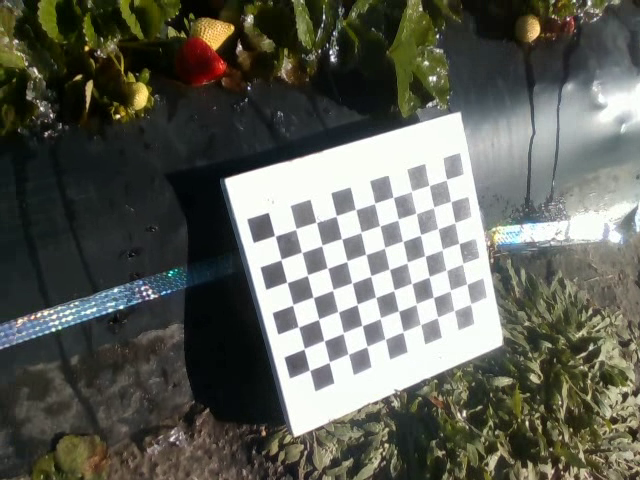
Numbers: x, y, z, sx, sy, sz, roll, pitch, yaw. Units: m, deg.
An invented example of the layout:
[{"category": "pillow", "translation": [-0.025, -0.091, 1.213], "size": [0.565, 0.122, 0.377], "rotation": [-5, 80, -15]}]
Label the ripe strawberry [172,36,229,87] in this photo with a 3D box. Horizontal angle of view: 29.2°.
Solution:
[{"category": "ripe strawberry", "translation": [-0.088, -0.146, 1.016], "size": [0.053, 0.040, 0.042], "rotation": [19, -25, 30]}]
